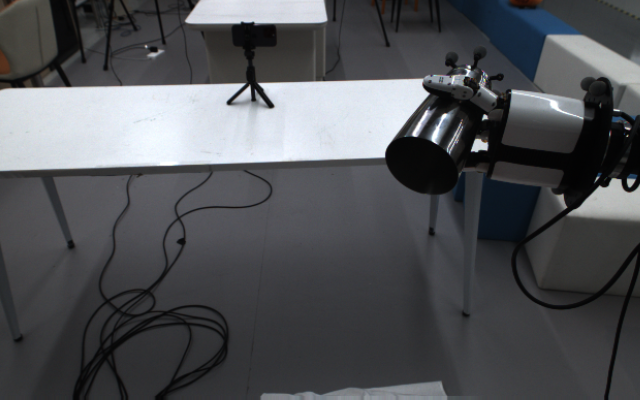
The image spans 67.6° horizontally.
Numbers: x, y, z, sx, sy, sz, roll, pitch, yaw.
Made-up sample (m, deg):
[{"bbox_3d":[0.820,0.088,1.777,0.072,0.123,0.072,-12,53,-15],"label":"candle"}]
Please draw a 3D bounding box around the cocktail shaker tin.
[{"bbox_3d":[0.163,-0.102,0.613,0.093,0.093,0.170,19,55,22],"label":"cocktail shaker tin"}]
